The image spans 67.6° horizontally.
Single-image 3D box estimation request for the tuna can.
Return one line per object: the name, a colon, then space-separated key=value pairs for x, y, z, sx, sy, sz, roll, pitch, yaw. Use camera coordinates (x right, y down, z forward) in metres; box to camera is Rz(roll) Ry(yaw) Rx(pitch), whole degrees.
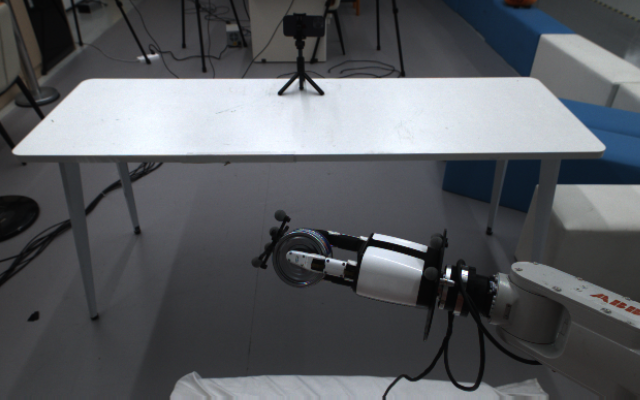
tuna can: x=-0.023 y=0.088 z=0.711 sx=0.085 sy=0.085 sz=0.034 roll=8 pitch=5 yaw=9
